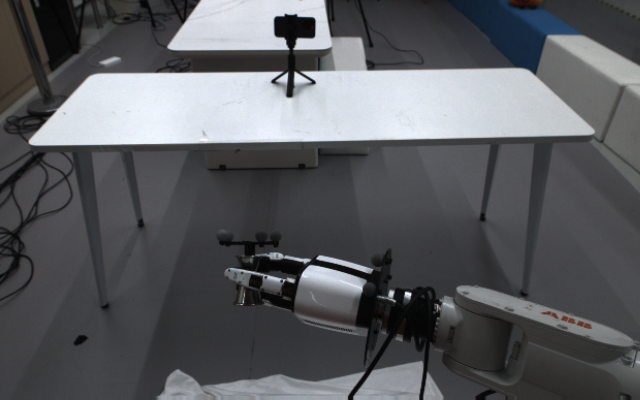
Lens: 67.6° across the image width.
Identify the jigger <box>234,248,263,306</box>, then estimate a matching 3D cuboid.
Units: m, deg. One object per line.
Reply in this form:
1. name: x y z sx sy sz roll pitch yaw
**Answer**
1. jigger: -0.100 0.112 0.679 0.043 0.071 0.043 1 -5 0
